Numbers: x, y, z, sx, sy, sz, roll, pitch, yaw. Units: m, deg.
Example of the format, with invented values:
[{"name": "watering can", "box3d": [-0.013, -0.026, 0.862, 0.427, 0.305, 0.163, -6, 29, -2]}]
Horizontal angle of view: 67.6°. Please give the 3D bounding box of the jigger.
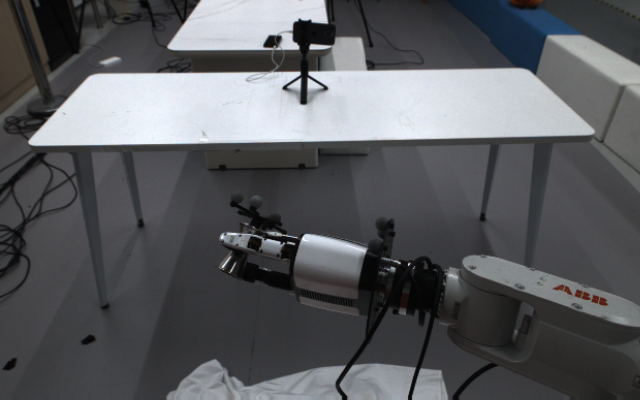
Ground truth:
[{"name": "jigger", "box3d": [-0.106, 0.066, 0.644, 0.043, 0.043, 0.071, 20, 74, 24]}]
